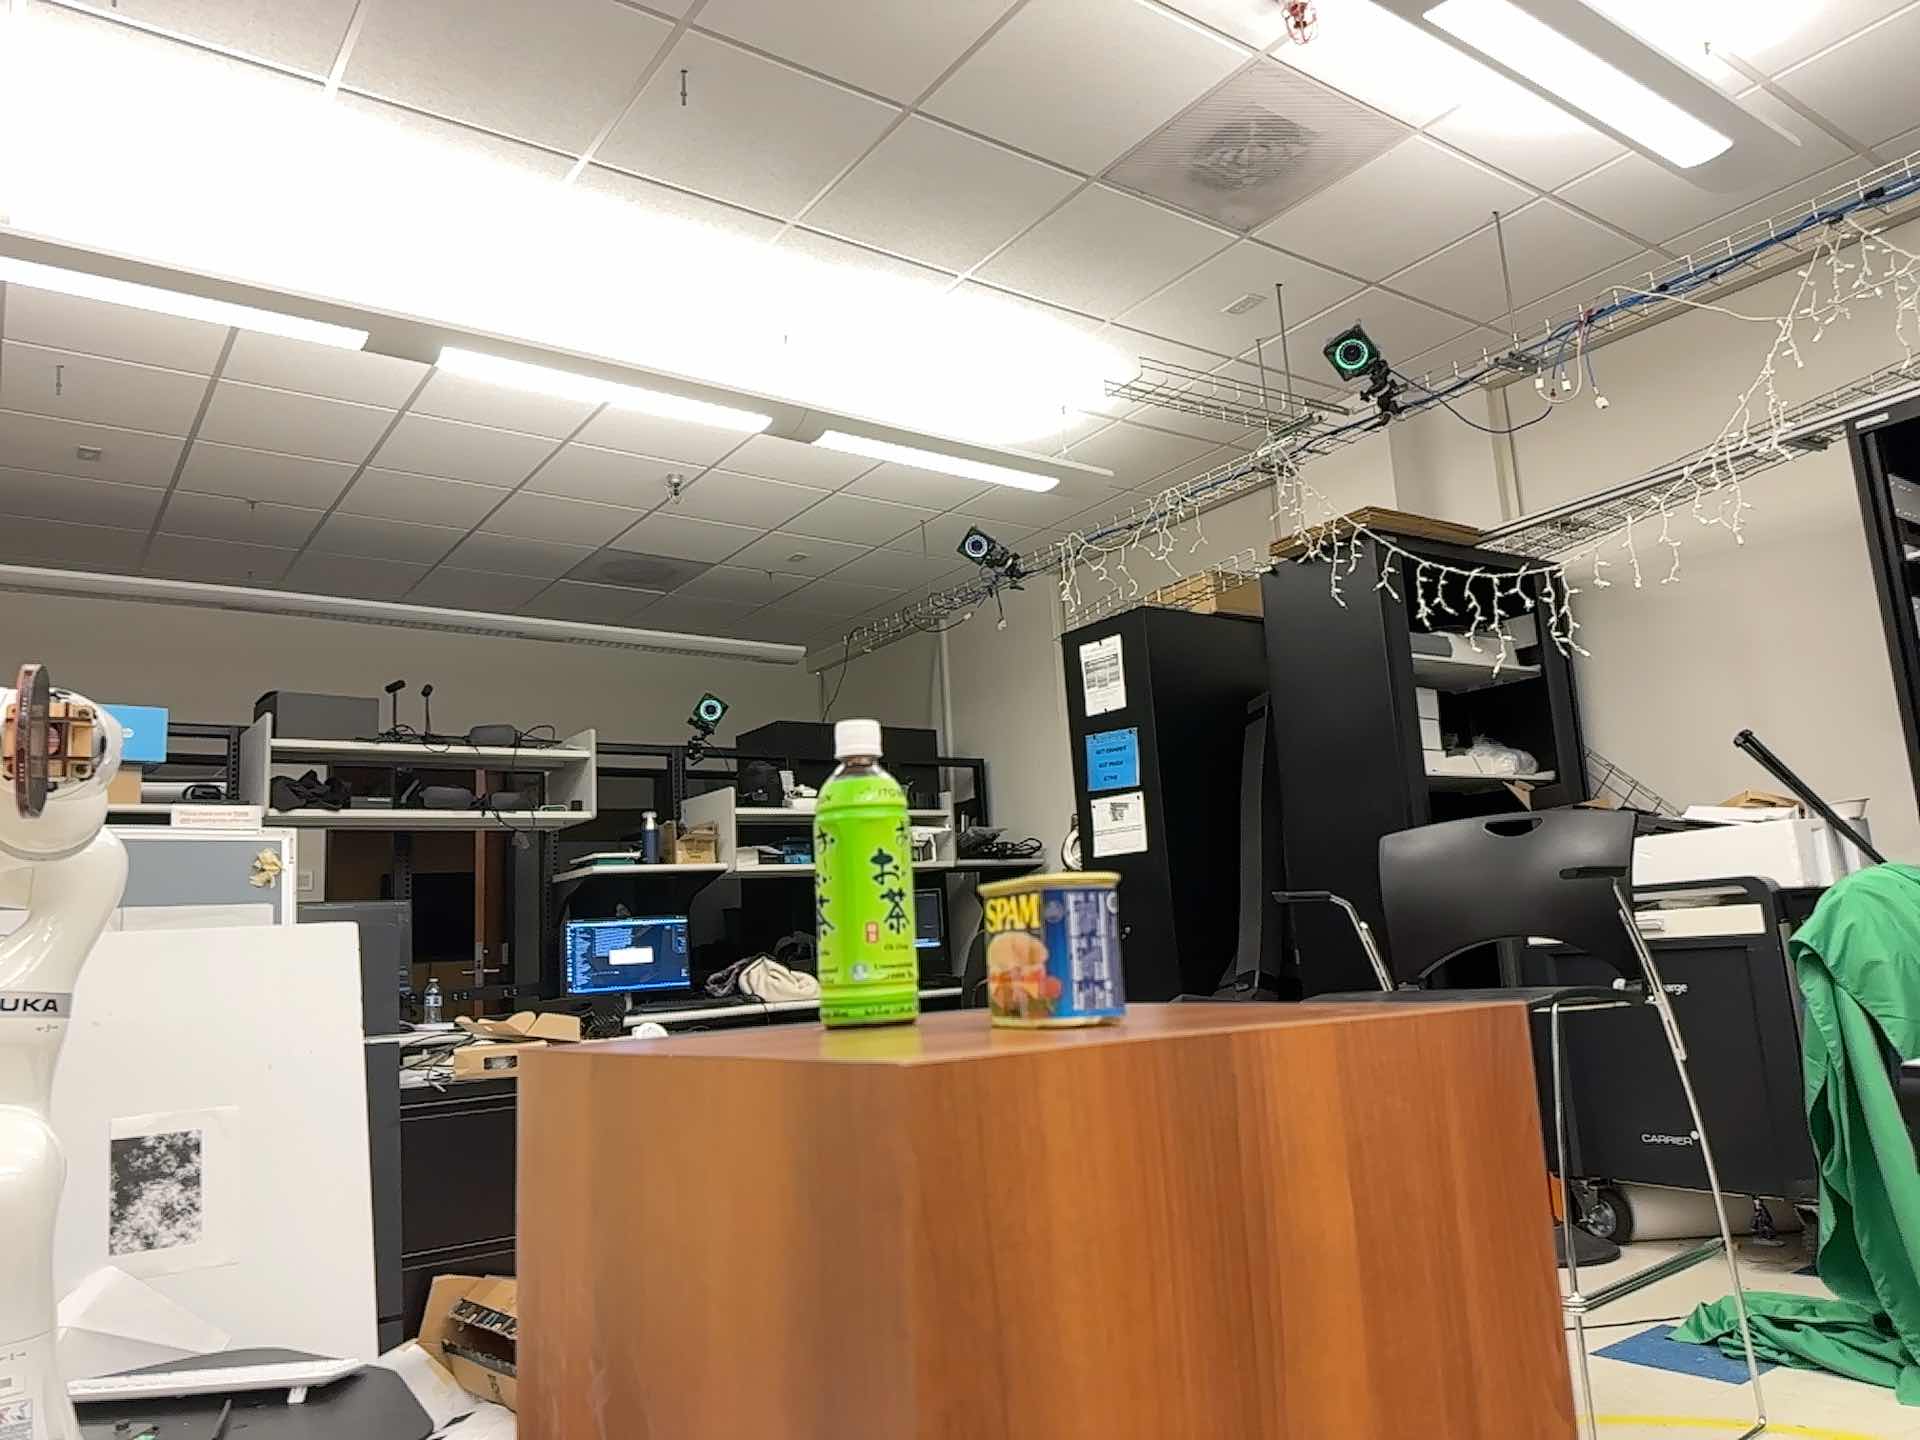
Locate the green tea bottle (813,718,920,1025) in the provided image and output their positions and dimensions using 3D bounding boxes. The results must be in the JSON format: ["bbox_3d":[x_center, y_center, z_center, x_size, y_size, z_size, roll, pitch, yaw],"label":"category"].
[{"bbox_3d":[-0.067,0.104,0.940,0.073,0.212,0.073,-3,-14,-1],"label":"green tea bottle"}]

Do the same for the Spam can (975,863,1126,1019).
[{"bbox_3d":[0.054,0.133,0.798,0.056,0.083,0.100,3,-13,-27],"label":"Spam can"}]
